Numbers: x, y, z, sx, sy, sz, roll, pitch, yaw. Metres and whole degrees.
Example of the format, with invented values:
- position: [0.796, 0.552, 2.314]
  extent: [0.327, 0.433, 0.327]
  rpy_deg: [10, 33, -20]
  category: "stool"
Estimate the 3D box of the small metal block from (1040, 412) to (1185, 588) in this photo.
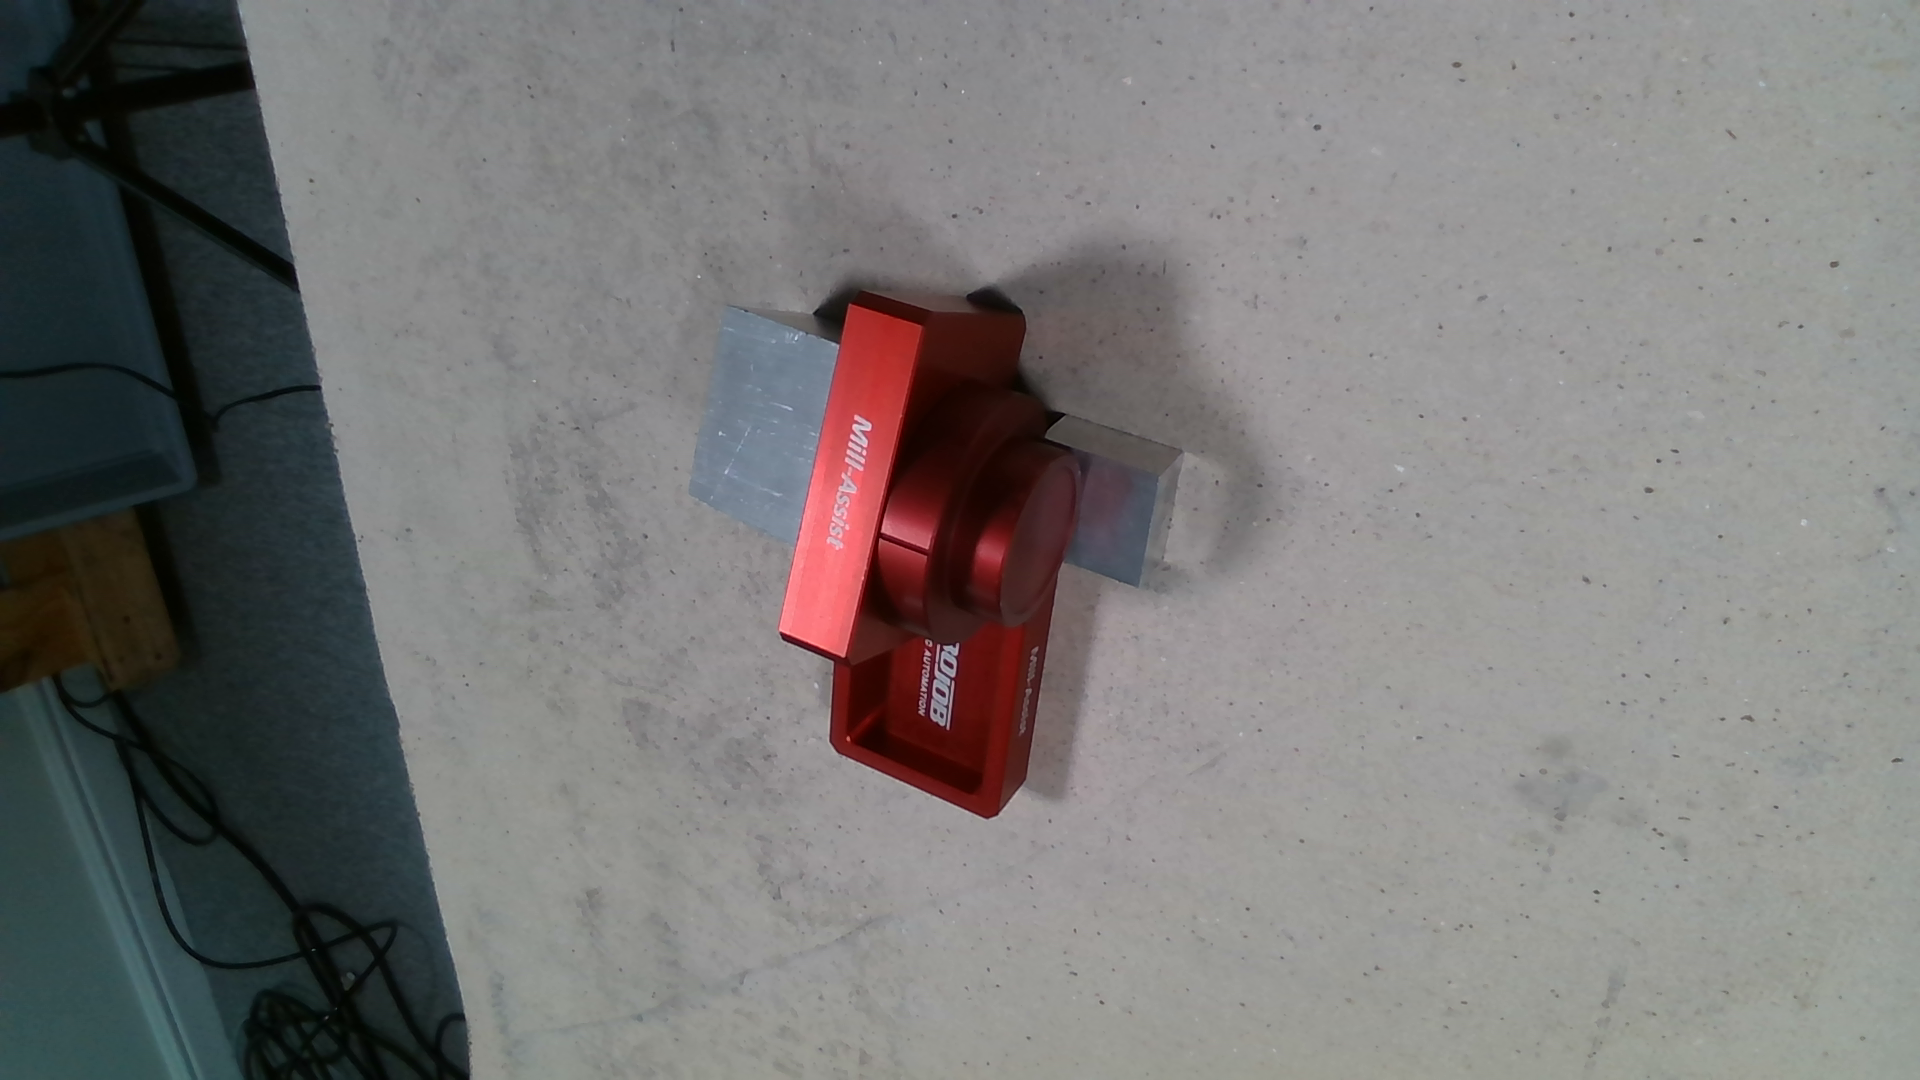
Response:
- position: [0.056, -0.016, 0.538]
  extent: [0.050, 0.025, 0.050]
  rpy_deg: [20, 124, 21]
  category: "small metal block"

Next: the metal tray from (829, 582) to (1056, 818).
- position: [-0.010, 0.052, 0.611]
  extent: [0.090, 0.030, 0.130]
  rpy_deg: [20, 124, 21]
  category: "metal tray"

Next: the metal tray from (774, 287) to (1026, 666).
- position: [-0.021, -0.025, 0.515]
  extent: [0.030, 0.090, 0.130]
  rpy_deg: [21, 106, 22]
  category: "metal tray"

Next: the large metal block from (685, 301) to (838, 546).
- position: [-0.058, -0.045, 0.551]
  extent: [0.080, 0.050, 0.080]
  rpy_deg: [24, 108, 34]
  category: "large metal block"

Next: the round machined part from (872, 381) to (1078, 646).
- position: [0.011, -0.006, 0.509]
  extent: [0.042, 0.098, 0.098]
  rpy_deg: [20, 124, 22]
  category: "round machined part"
